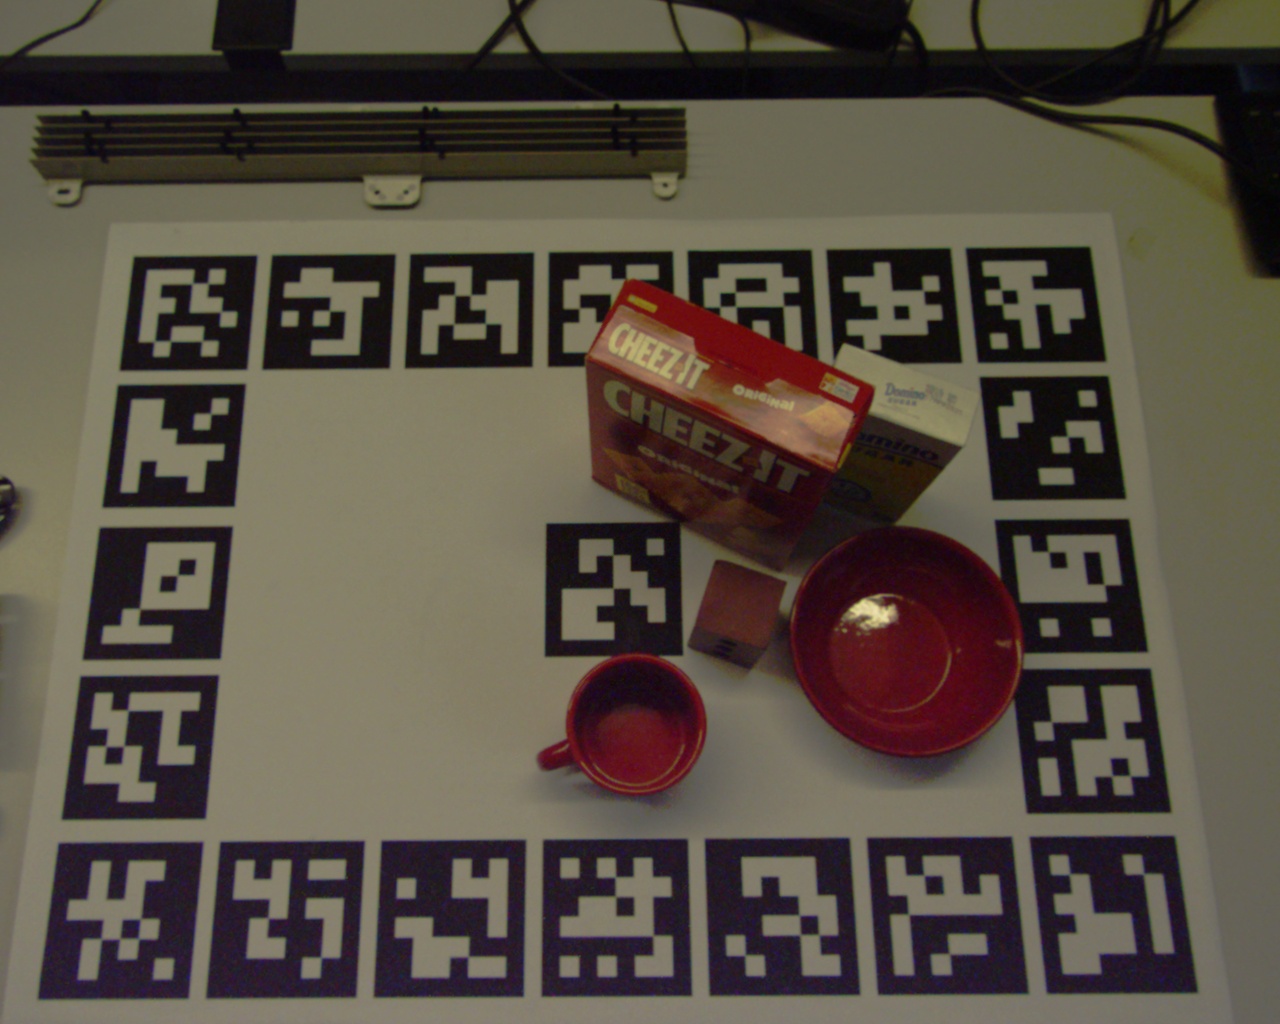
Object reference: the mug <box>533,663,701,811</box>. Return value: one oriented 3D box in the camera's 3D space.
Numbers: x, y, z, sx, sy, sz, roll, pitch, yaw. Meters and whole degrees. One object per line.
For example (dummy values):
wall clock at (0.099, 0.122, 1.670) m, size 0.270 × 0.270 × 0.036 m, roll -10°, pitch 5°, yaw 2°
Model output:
mug at (-0.017, 0.164, 0.799) m, size 0.117 × 0.081 × 0.094 m, roll -9°, pitch 65°, yaw -1°

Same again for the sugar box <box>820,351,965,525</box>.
sugar box at (0.161, -0.048, 0.816) m, size 0.093 × 0.176 × 0.045 m, roll 21°, pitch 74°, yaw 6°

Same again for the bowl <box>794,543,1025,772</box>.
bowl at (0.188, 0.106, 0.821) m, size 0.161 × 0.055 × 0.162 m, roll 0°, pitch 74°, yaw 0°

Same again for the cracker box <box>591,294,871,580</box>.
cracker box at (0.050, -0.040, 0.796) m, size 0.165 × 0.213 × 0.072 m, roll 29°, pitch 73°, yaw 7°

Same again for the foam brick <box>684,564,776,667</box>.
foam brick at (0.065, 0.077, 0.835) m, size 0.053 × 0.078 × 0.051 m, roll 15°, pitch 73°, yaw 5°
